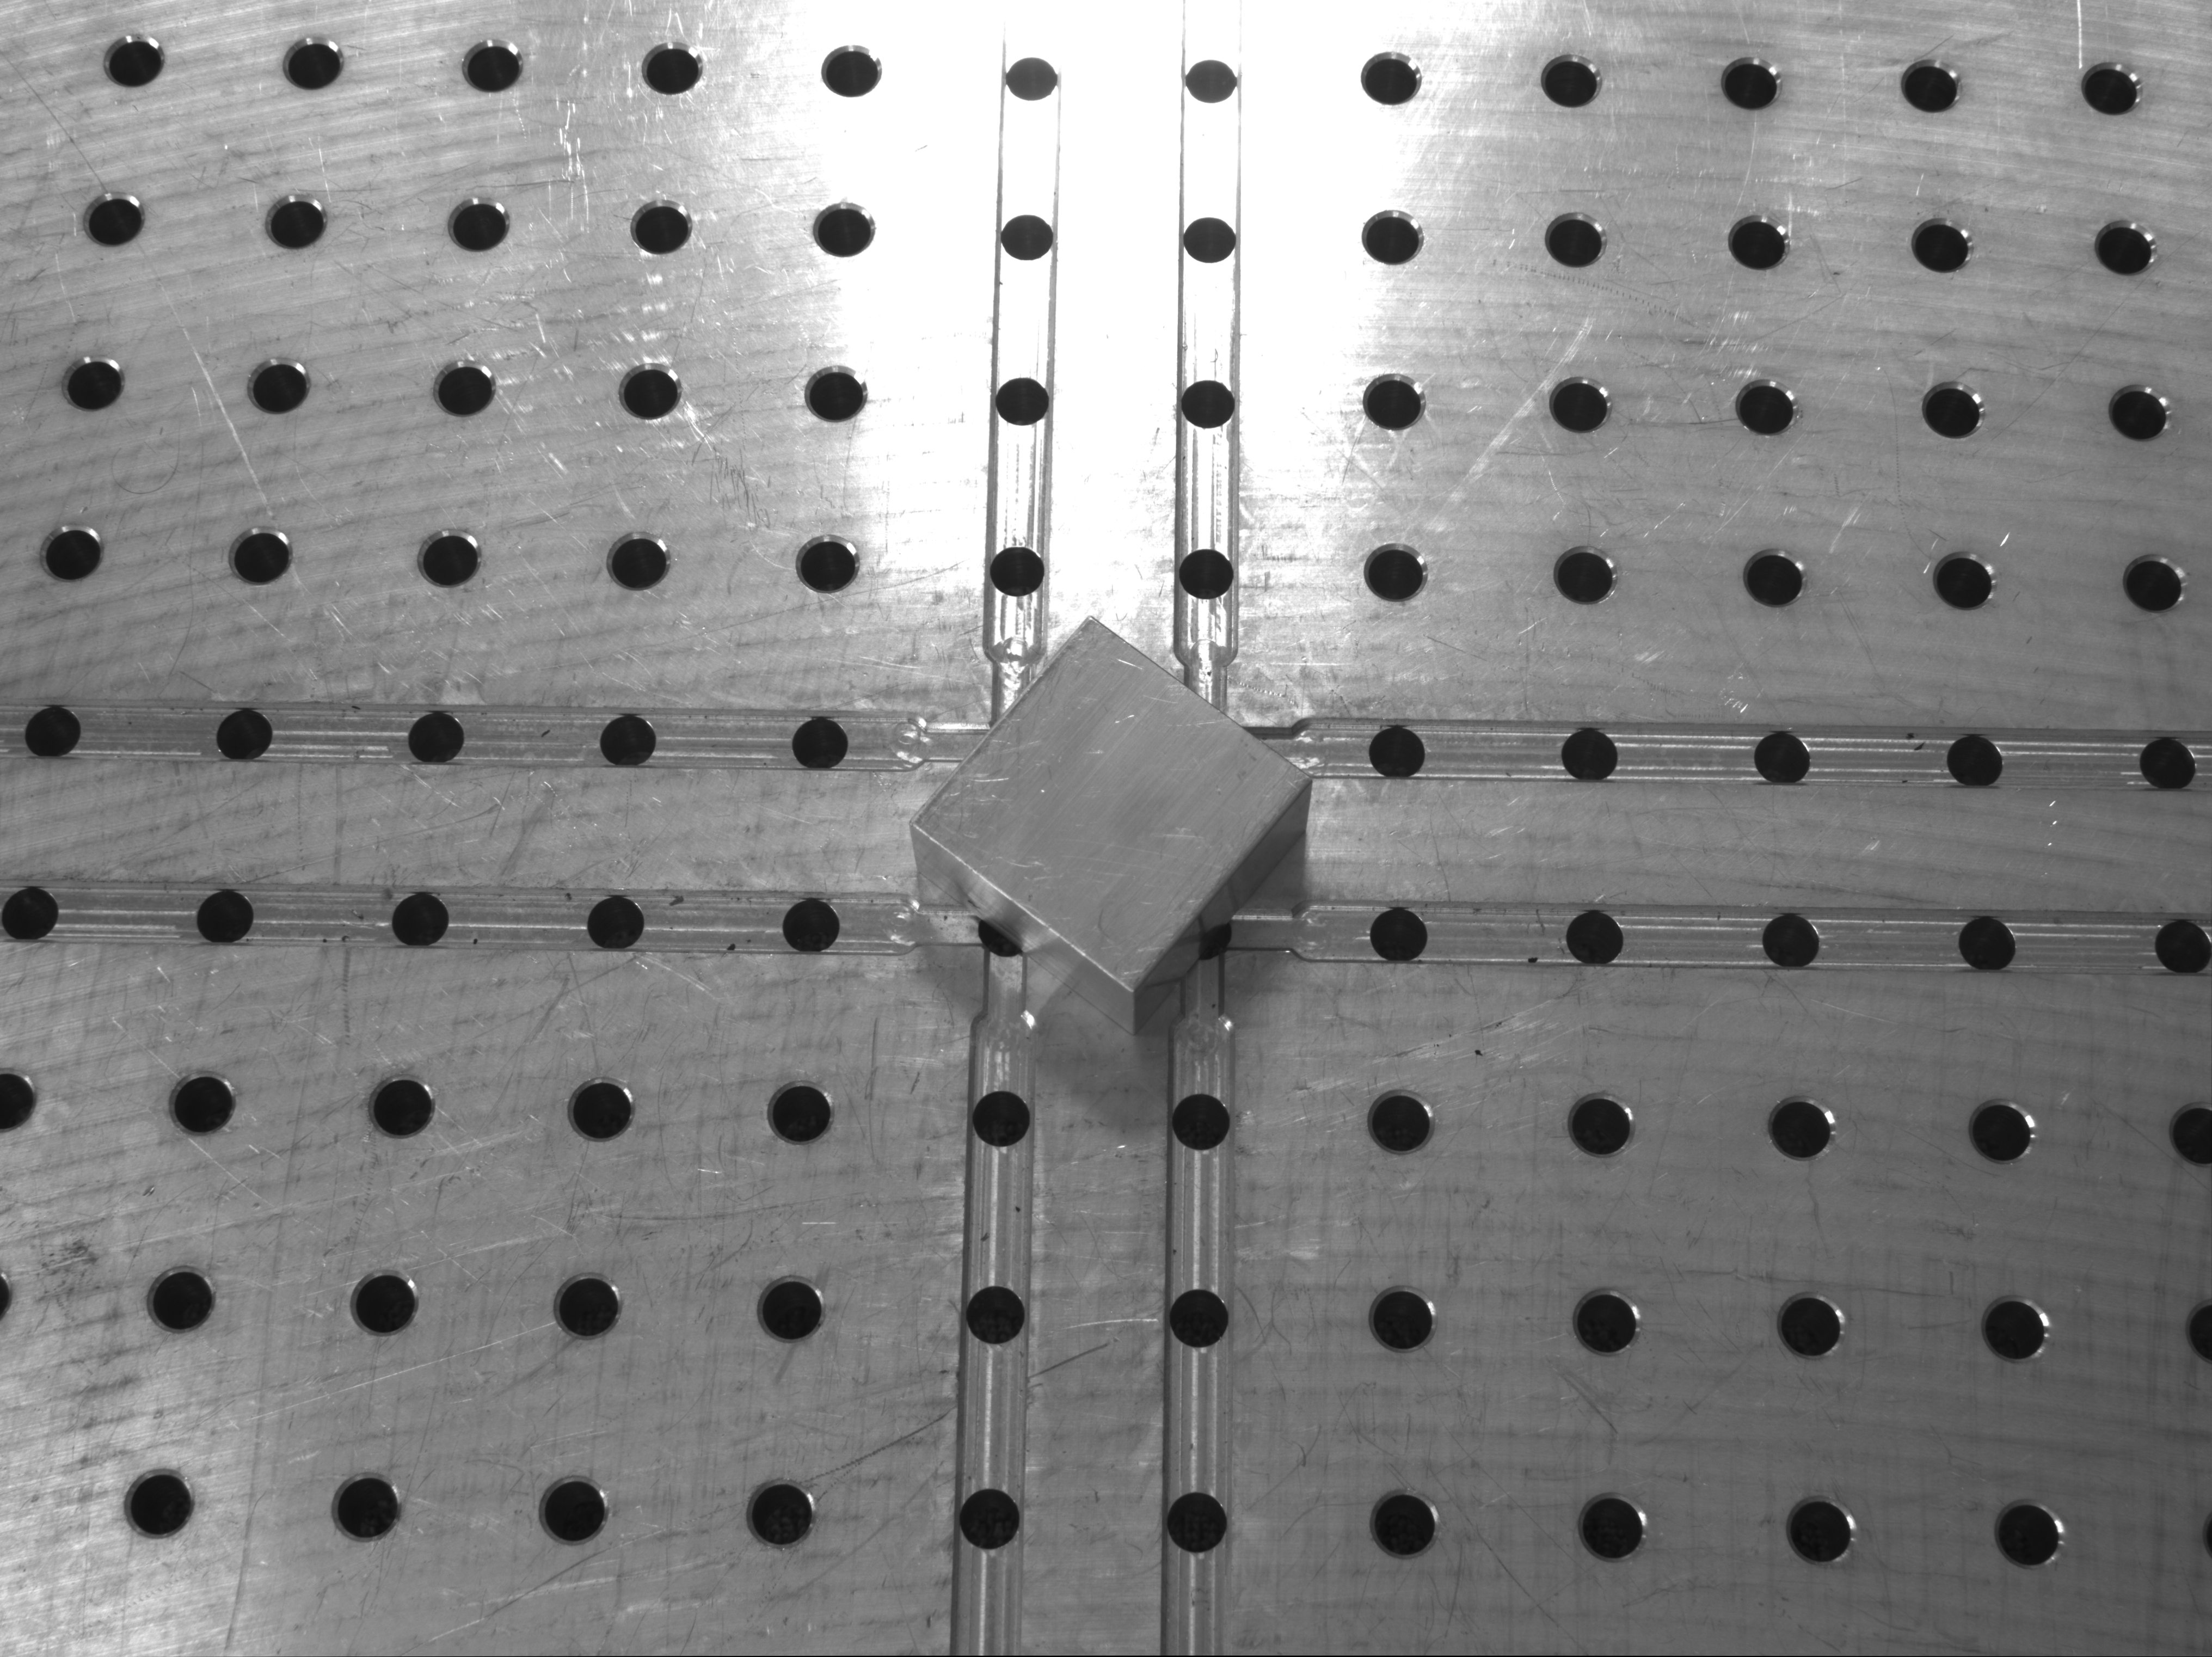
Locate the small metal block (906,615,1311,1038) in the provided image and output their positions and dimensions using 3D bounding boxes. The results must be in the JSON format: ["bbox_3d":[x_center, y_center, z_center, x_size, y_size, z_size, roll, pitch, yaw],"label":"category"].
[{"bbox_3d":[0.001,0.000,0.648,0.050,0.025,0.050,37,74,12],"label":"small metal block"}]
